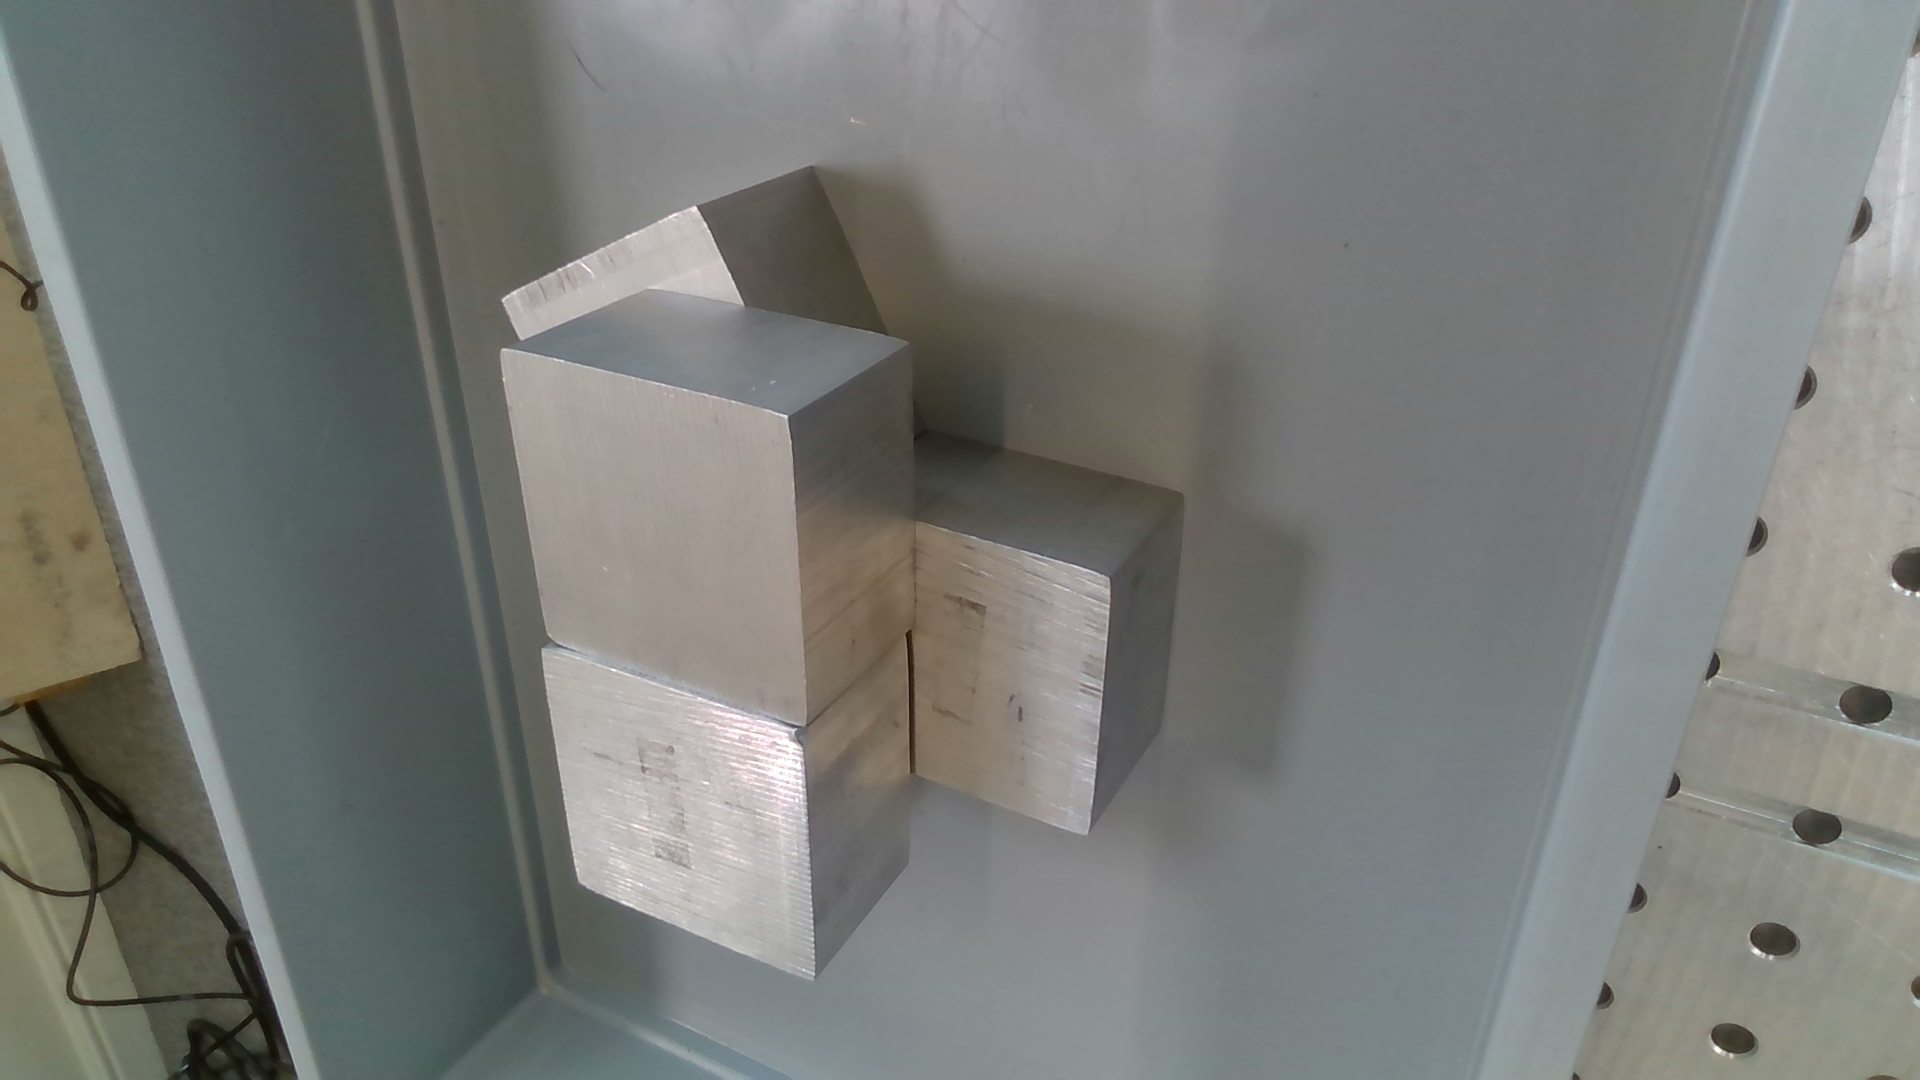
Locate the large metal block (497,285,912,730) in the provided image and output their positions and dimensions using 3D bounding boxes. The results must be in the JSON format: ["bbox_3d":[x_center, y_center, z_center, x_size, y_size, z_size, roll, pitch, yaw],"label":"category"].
[{"bbox_3d":[-0.059,-0.011,0.337,0.080,0.050,0.080,15,122,24],"label":"large metal block"}]

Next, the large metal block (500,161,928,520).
[{"bbox_3d":[-0.068,-0.049,0.386,0.080,0.050,0.080,-13,108,36],"label":"large metal block"}]

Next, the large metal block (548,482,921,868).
[{"bbox_3d":[-0.073,0.043,0.439,0.080,0.050,0.080,43,129,5],"label":"large metal block"}]

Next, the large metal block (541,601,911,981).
[{"bbox_3d":[-0.061,0.060,0.375,0.080,0.050,0.080,15,122,24],"label":"large metal block"}]

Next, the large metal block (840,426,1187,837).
[{"bbox_3d":[0.012,0.023,0.377,0.080,0.050,0.080,16,122,24],"label":"large metal block"}]
